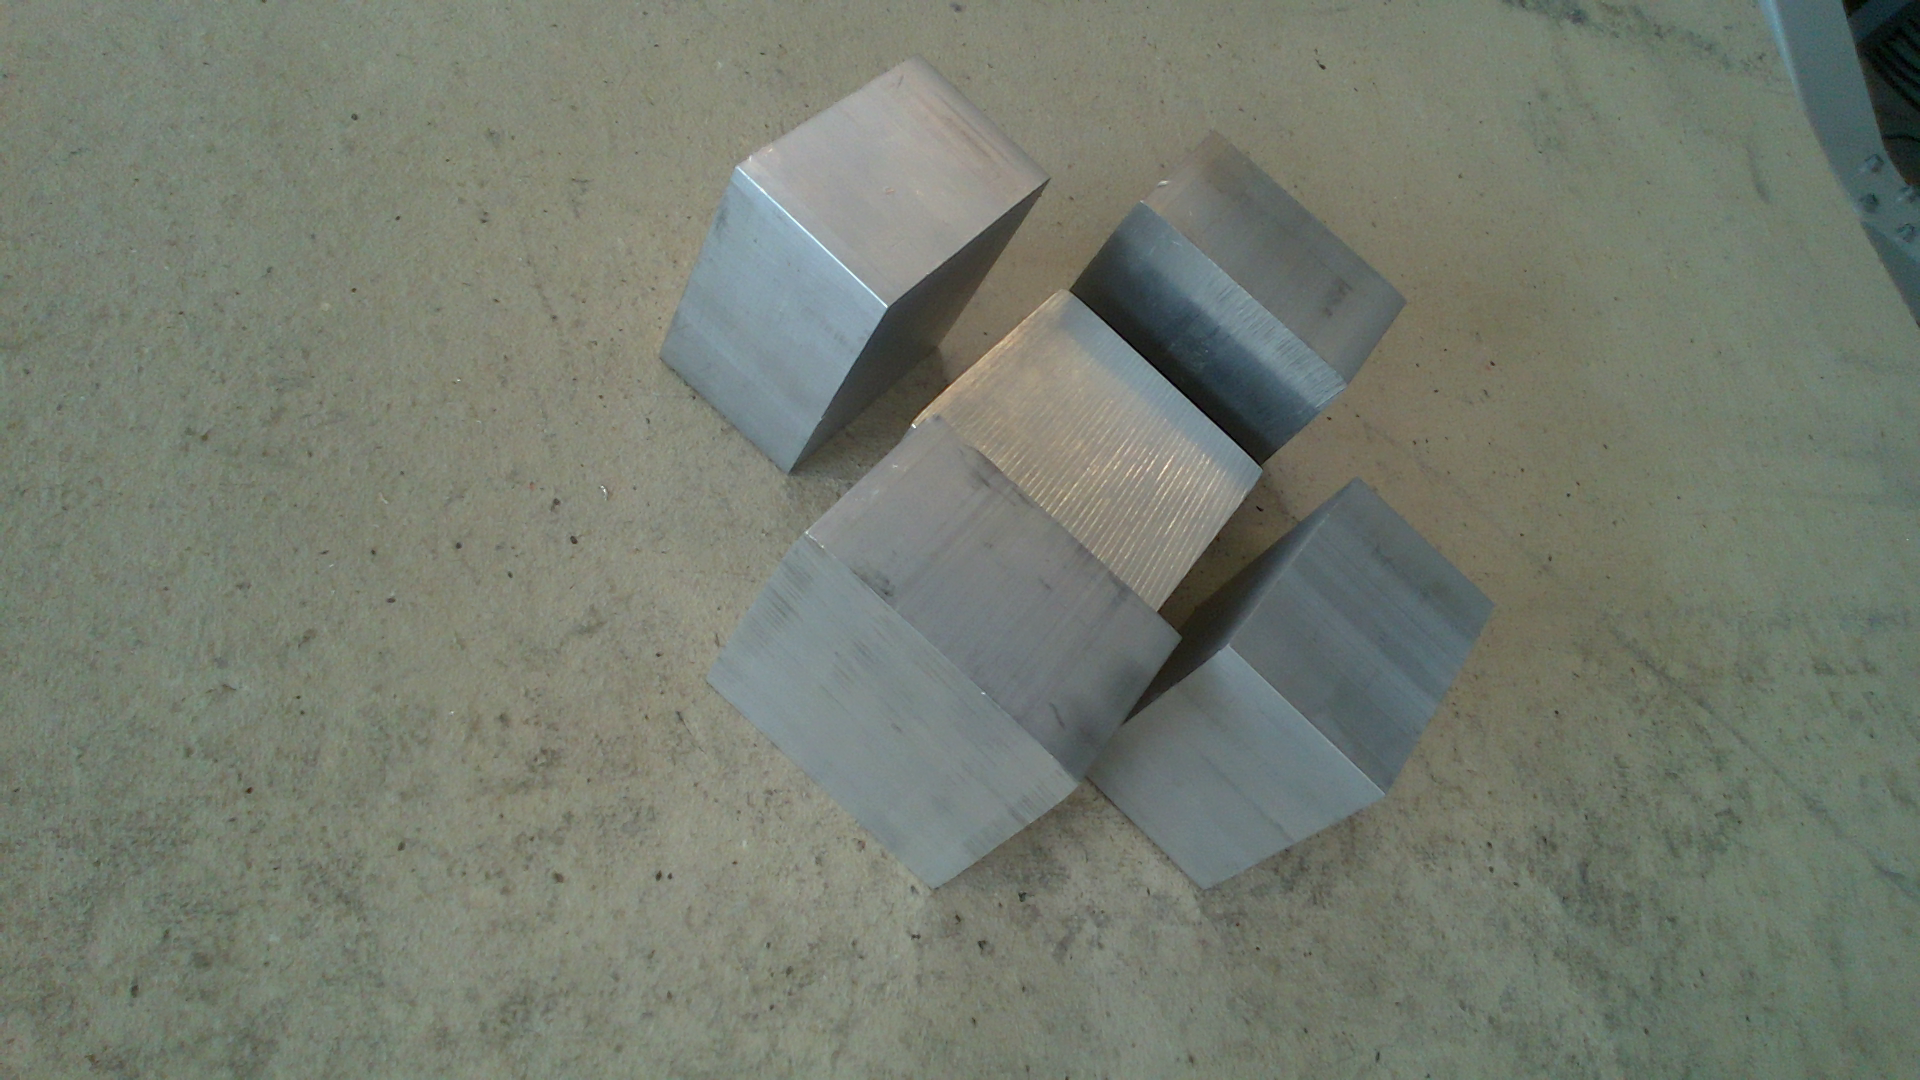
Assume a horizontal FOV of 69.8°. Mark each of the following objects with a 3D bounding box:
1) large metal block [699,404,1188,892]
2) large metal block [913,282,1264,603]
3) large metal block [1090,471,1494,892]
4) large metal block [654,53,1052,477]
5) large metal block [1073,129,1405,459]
[{"bbox_3d":[-0.007,0.029,0.333,0.080,0.080,0.050,42,51,1],"label":"large metal block"},{"bbox_3d":[0.027,-0.014,0.394,0.080,0.050,0.080,43,51,1],"label":"large metal block"},{"bbox_3d":[0.087,0.039,0.377,0.050,0.080,0.080,44,51,3],"label":"large metal block"},{"bbox_3d":[-0.031,-0.076,0.386,0.050,0.080,0.080,43,51,2],"label":"large metal block"},{"bbox_3d":[0.077,-0.066,0.436,0.080,0.080,0.050,42,50,1],"label":"large metal block"}]
